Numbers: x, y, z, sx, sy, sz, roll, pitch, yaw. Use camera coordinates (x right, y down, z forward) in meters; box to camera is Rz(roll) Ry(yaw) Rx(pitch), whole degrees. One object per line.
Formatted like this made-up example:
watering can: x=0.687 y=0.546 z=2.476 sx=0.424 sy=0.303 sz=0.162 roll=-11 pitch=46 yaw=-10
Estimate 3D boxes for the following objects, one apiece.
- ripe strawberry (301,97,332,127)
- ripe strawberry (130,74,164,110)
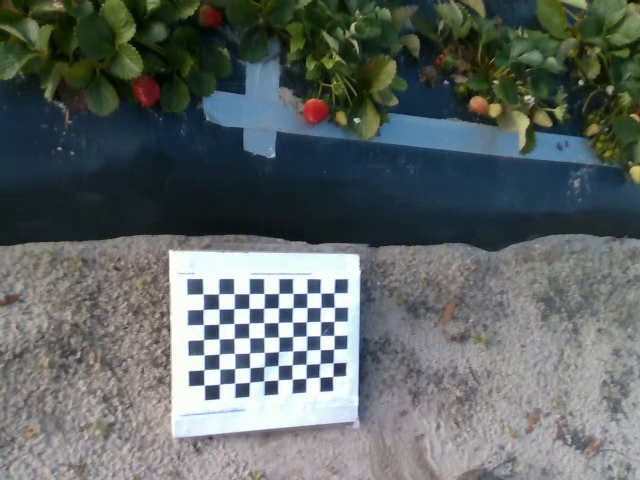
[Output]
ripe strawberry: x=-0.002 y=-0.099 z=0.494 sx=0.023 sy=0.021 sz=0.026 roll=7 pitch=44 yaw=3
ripe strawberry: x=-0.111 y=-0.101 z=0.445 sx=0.018 sy=0.023 sz=0.021 roll=-9 pitch=-28 yaw=-5
